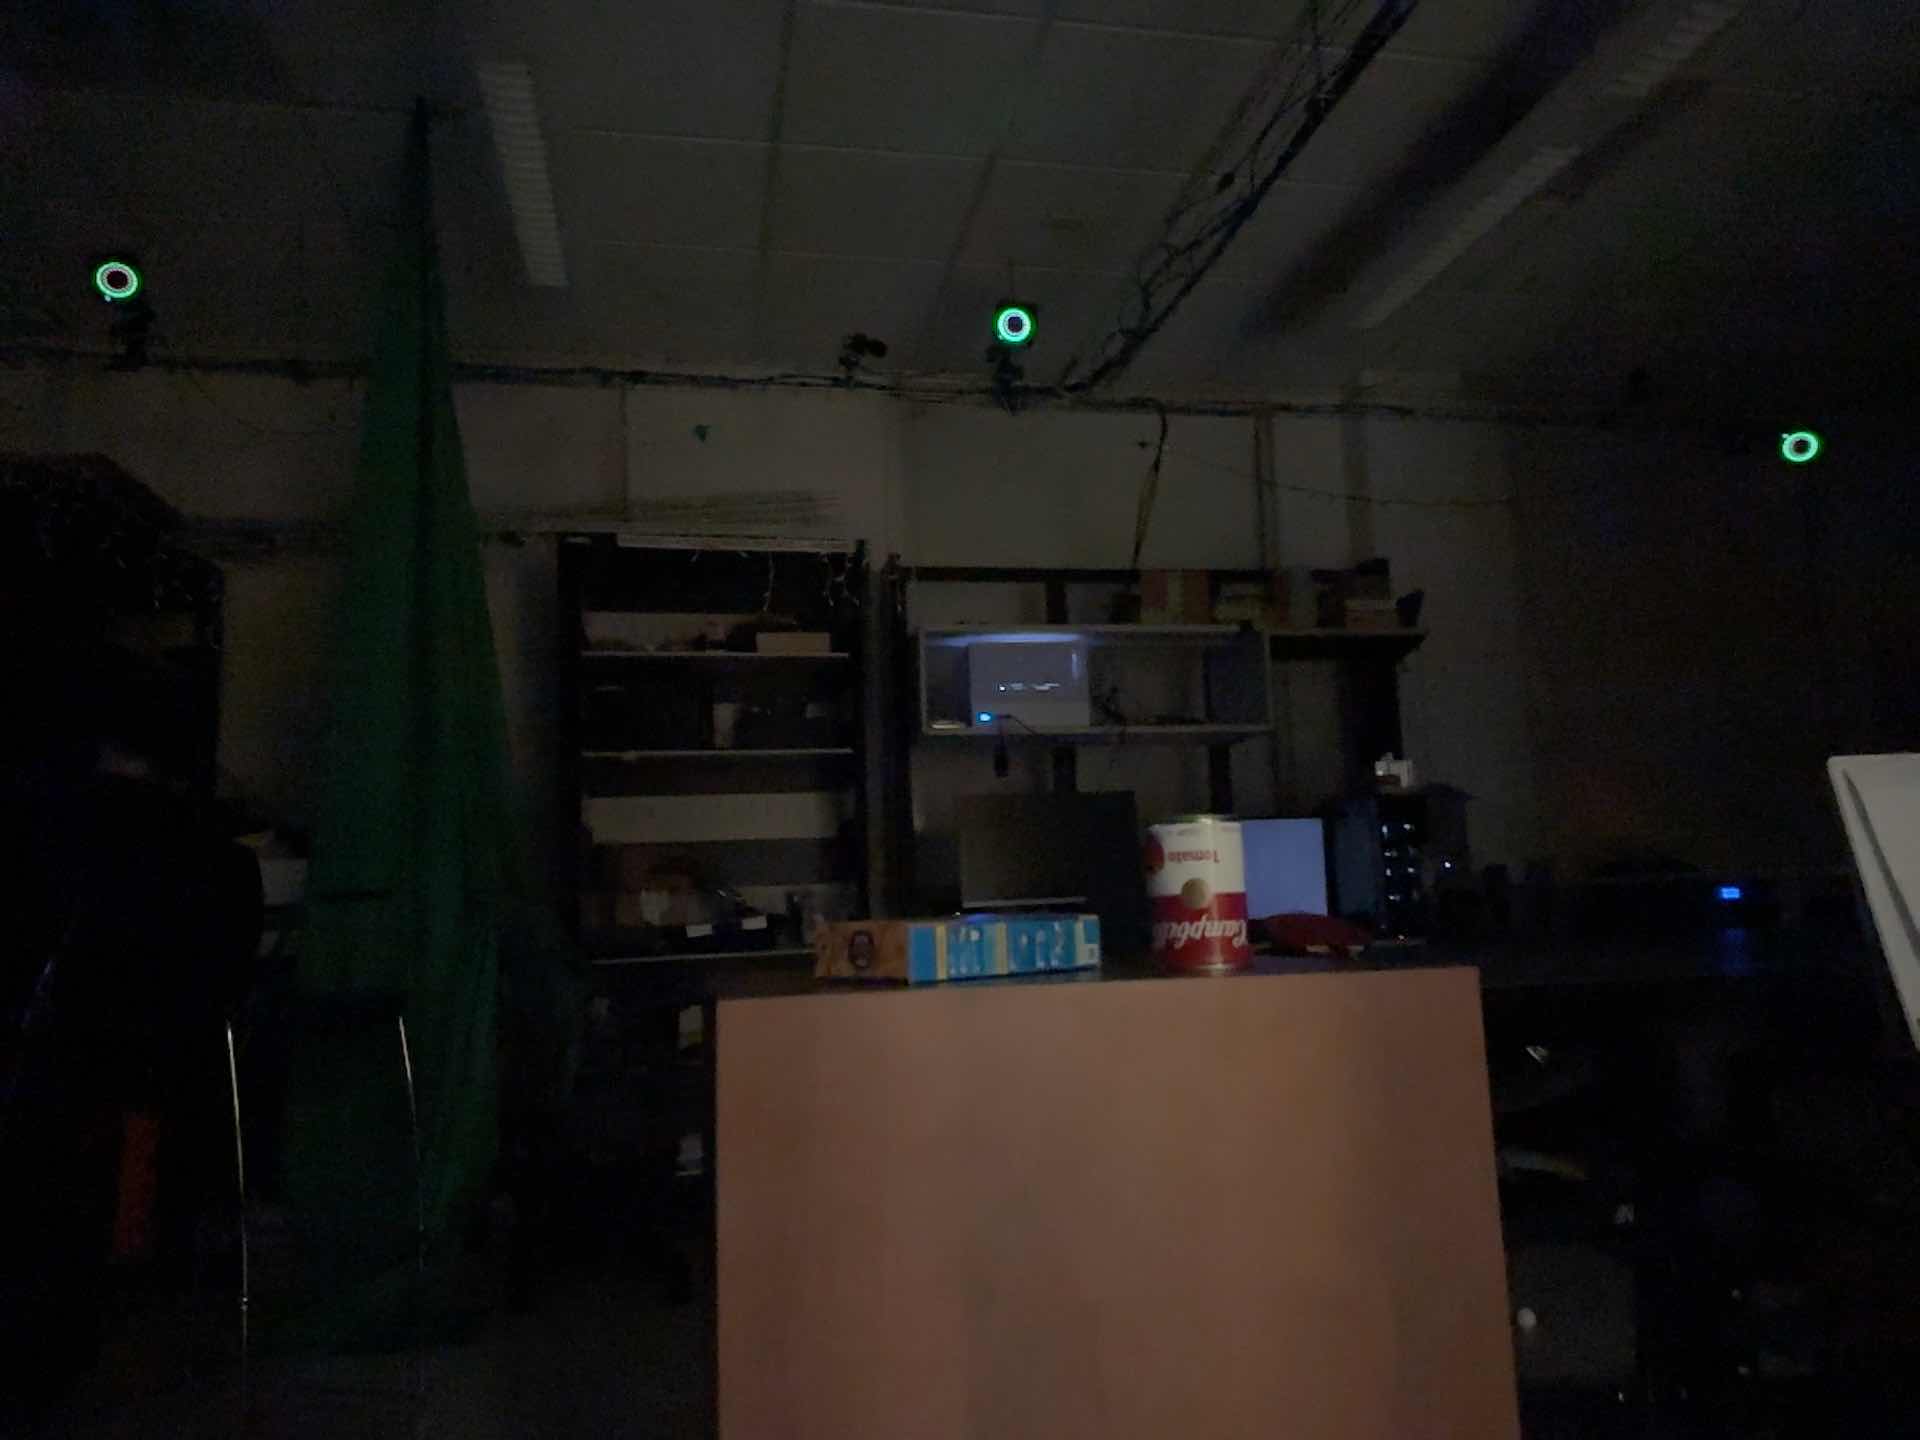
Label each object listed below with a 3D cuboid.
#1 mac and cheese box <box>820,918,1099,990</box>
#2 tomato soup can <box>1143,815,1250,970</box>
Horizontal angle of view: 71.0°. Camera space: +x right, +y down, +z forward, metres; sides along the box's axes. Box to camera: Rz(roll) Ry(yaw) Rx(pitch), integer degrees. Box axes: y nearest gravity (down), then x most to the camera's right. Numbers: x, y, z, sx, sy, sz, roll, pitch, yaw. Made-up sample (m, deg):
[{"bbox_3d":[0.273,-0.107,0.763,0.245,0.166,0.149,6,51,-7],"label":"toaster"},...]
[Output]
[{"bbox_3d":[0.003,0.157,0.915,0.088,0.035,0.181,-6,-8,43],"label":"mac and cheese box"},{"bbox_3d":[0.161,0.116,0.920,0.067,0.102,0.067,-2,-6,0],"label":"tomato soup can"}]
